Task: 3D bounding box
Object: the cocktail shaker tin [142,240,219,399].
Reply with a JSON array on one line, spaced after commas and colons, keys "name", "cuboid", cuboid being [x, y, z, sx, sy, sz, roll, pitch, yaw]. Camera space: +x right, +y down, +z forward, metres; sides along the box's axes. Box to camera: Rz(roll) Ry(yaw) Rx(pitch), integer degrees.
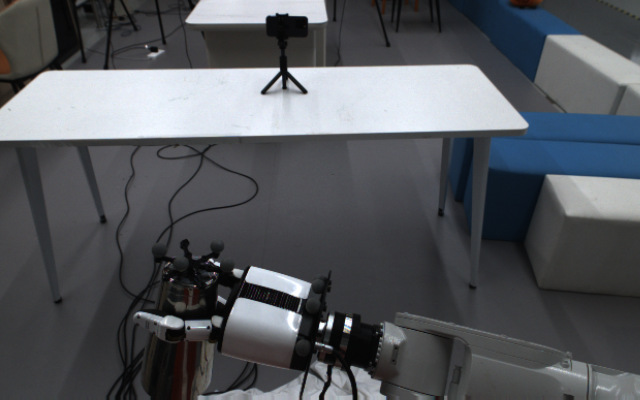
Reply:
[{"name": "cocktail shaker tin", "cuboid": [-0.168, 0.156, 0.610, 0.093, 0.170, 0.093, 12, 25, -6]}]
